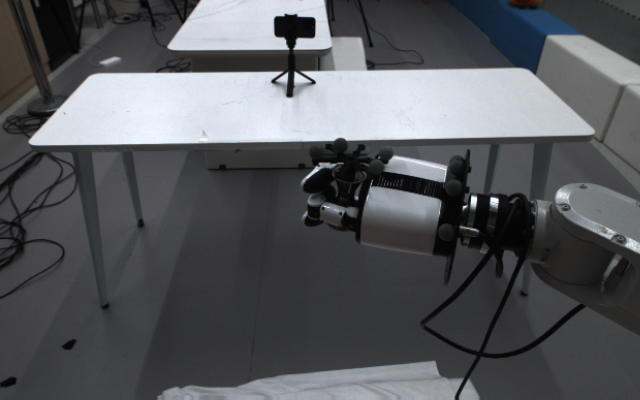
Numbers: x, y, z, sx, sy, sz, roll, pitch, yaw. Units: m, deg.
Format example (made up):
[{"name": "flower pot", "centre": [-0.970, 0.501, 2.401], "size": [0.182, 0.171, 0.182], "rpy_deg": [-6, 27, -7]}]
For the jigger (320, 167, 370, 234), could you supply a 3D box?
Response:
[{"name": "jigger", "centre": [0.035, -0.003, 0.587], "size": [0.043, 0.071, 0.043], "rpy_deg": [4, 31, -2]}]
